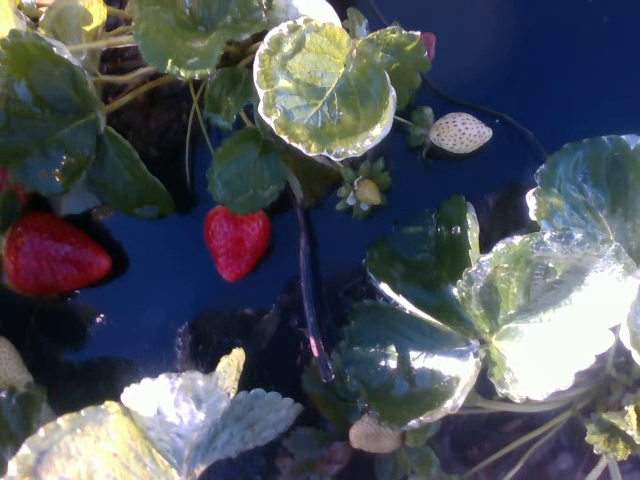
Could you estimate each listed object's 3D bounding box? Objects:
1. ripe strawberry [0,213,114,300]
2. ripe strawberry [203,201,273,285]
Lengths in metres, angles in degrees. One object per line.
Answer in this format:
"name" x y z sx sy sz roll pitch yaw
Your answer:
"ripe strawberry" -0.134 0.012 0.311 0.056 0.044 0.040 14 10 -8
"ripe strawberry" -0.040 0.002 0.303 0.039 0.047 0.040 3 1 -6
